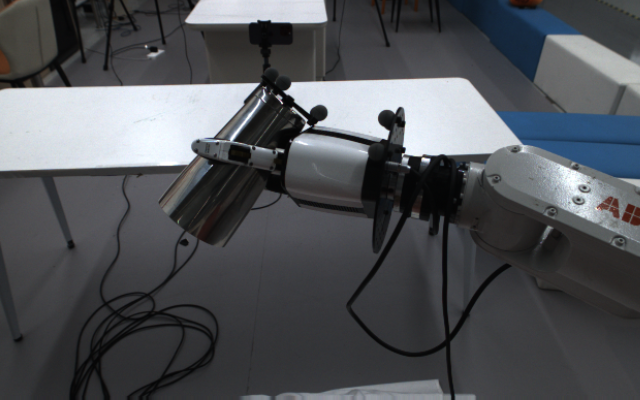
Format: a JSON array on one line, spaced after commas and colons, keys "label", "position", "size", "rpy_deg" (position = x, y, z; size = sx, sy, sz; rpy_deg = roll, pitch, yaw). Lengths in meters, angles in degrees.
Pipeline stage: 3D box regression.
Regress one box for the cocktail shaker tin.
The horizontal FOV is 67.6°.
[{"label": "cocktail shaker tin", "position": [-0.092, -0.043, 0.553], "size": [0.170, 0.093, 0.093], "rpy_deg": [-50, 46, 4]}]
